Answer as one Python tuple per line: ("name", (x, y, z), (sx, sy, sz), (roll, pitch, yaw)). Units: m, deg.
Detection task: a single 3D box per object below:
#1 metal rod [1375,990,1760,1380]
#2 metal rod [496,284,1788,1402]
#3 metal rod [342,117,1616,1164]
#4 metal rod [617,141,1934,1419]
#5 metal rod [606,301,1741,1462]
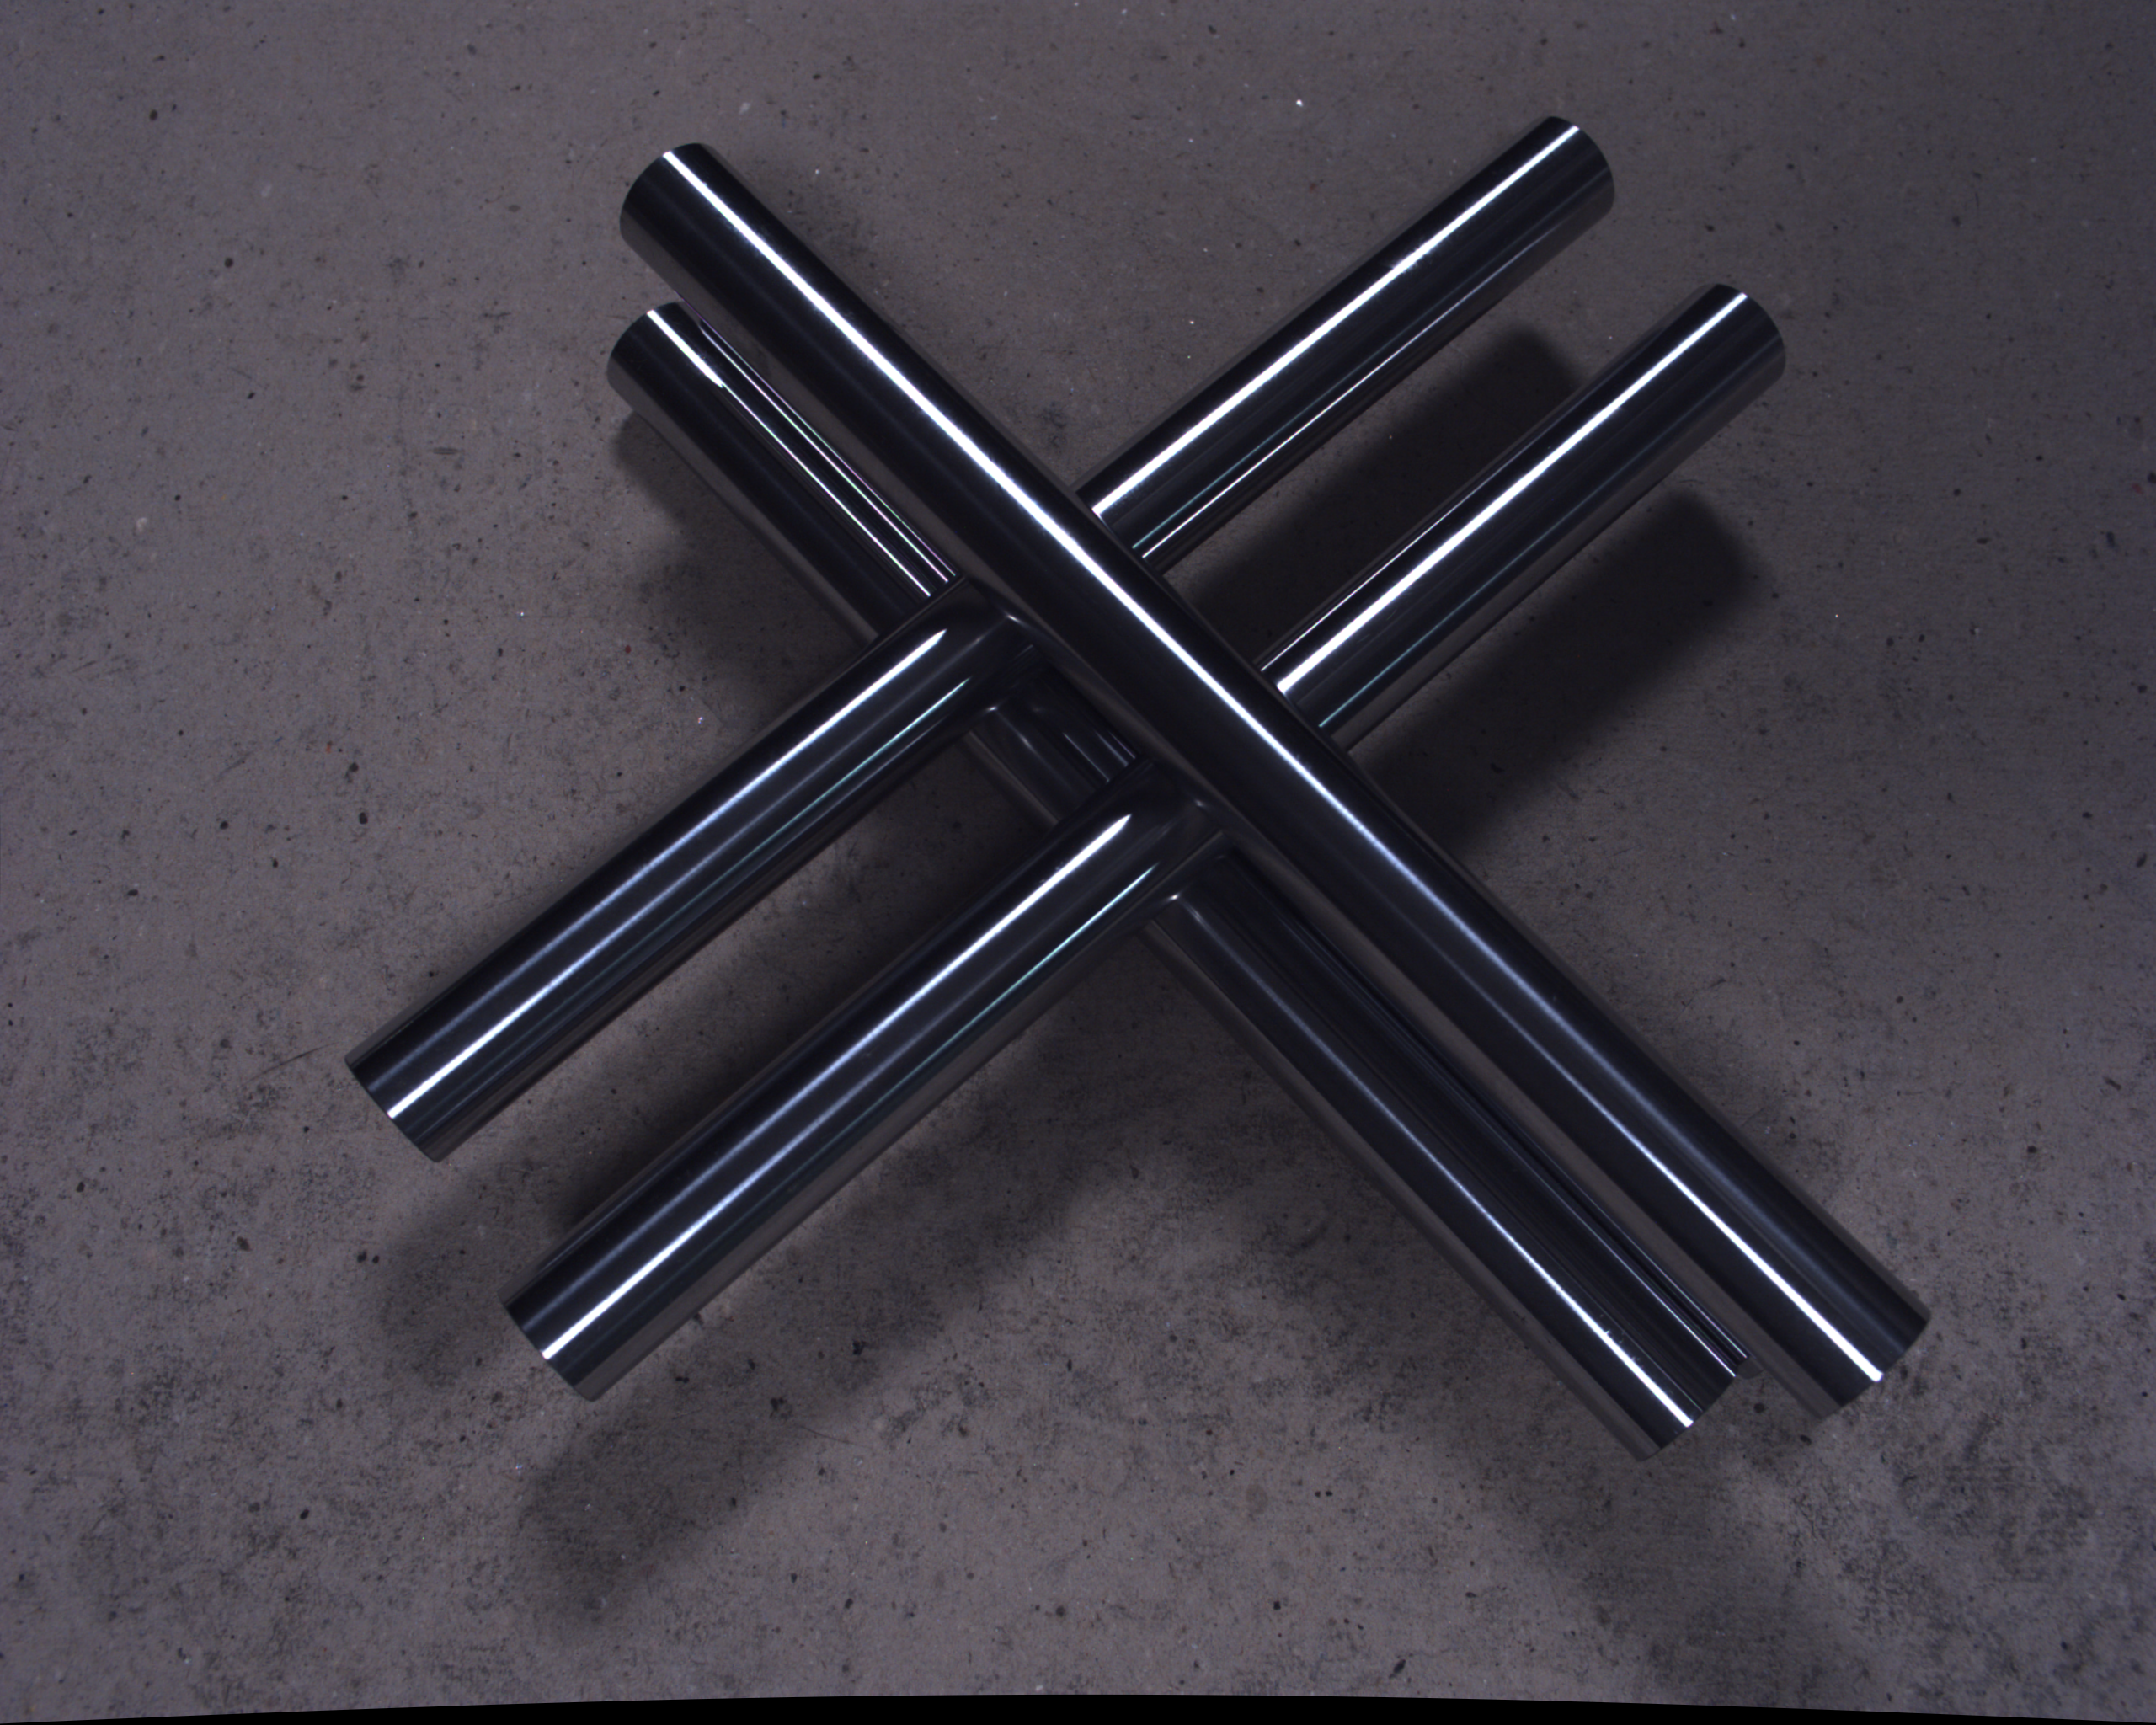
("metal rod", (0.030, -0.019, 0.417), (0.025, 0.025, 0.300), (-40, 75, -13))
("metal rod", (0.022, -0.013, 0.388), (0.301, 0.025, 0.025), (-40, 75, -14))
("metal rod", (-0.009, -0.051, 0.401), (0.301, 0.025, 0.025), (-40, 75, -14))
("metal rod", (0.023, -0.025, 0.365), (0.025, 0.025, 0.300), (-41, 75, -14))
("metal rod", (0.009, -0.006, 0.411), (0.025, 0.025, 0.300), (-40, 75, -13))
